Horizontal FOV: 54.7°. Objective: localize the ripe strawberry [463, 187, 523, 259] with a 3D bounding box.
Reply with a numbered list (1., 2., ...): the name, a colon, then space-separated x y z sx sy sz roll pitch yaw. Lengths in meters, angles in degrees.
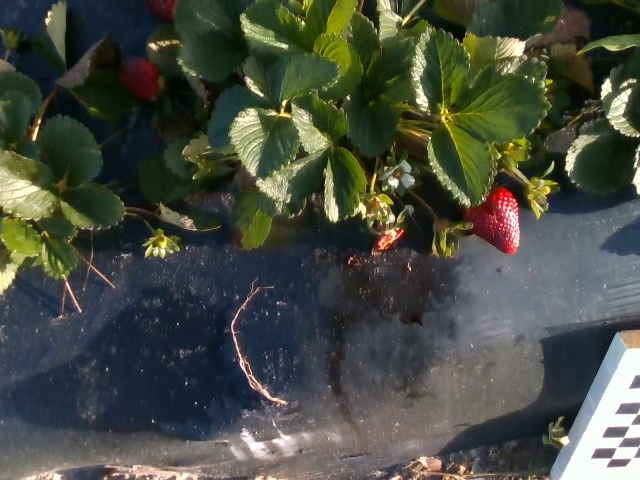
1. ripe strawberry: 0.144 -0.010 0.492 0.052 0.051 0.041 -27 -20 19
